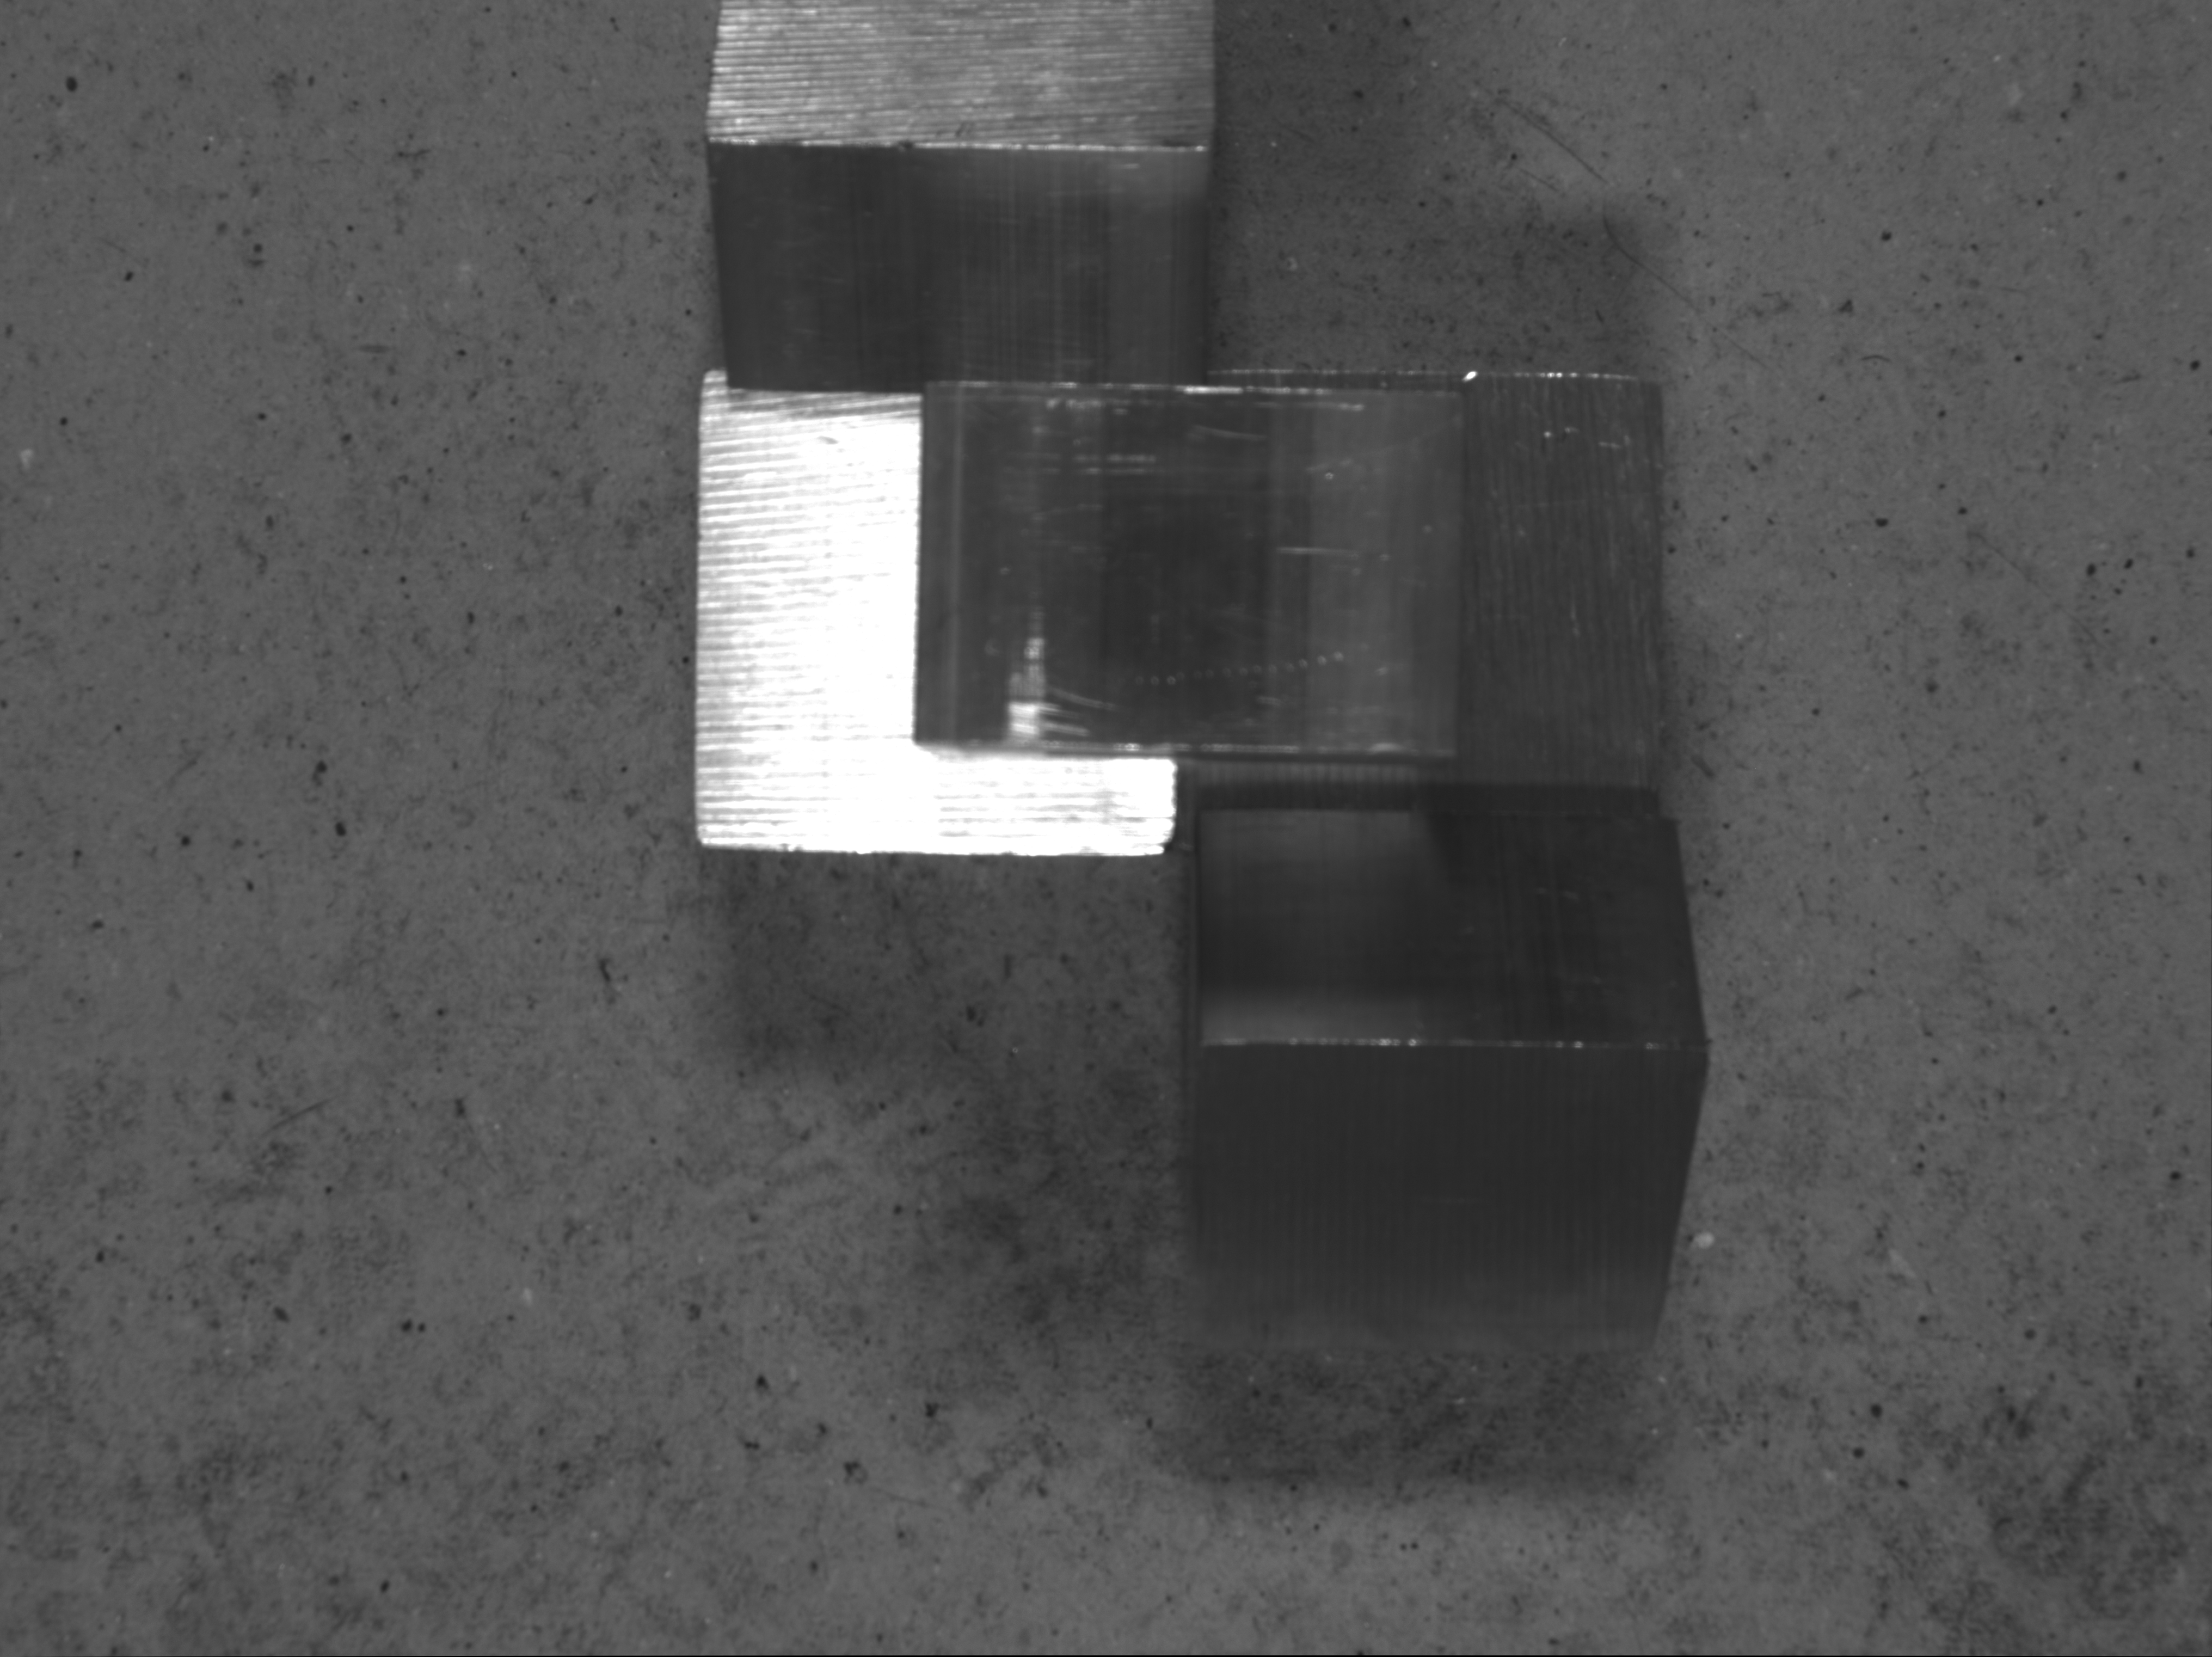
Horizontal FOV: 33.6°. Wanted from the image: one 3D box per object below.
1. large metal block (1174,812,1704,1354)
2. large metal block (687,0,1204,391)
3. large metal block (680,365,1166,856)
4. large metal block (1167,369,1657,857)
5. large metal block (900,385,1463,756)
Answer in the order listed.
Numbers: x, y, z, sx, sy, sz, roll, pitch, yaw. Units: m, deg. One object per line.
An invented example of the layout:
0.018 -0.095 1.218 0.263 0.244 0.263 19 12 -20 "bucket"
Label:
0.052 0.043 0.612 0.080 0.080 0.050 1 46 -1 "large metal block"
-0.024 -0.118 0.612 0.080 0.050 0.080 1 46 0 "large metal block"
-0.030 -0.036 0.631 0.080 0.050 0.080 1 90 0 "large metal block"
0.051 -0.036 0.632 0.080 0.050 0.080 1 90 0 "large metal block"
0.011 -0.038 0.568 0.080 0.080 0.050 1 90 0 "large metal block"
